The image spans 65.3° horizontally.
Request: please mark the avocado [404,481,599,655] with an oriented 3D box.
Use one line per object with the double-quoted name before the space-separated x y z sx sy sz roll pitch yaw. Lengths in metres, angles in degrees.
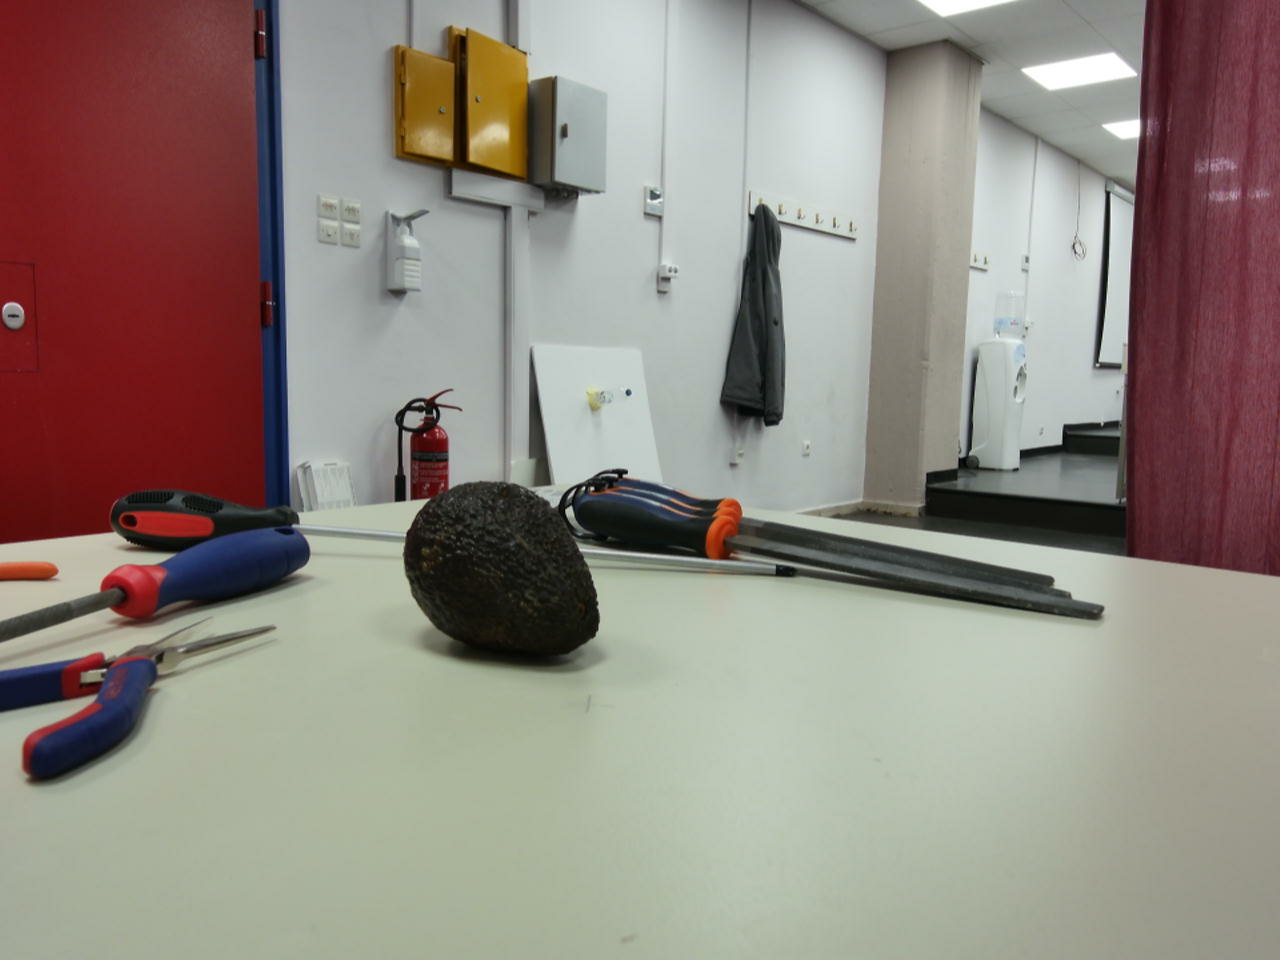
"avocado" -0.060 0.036 0.416 0.070 0.069 0.090 -1 4 -25
